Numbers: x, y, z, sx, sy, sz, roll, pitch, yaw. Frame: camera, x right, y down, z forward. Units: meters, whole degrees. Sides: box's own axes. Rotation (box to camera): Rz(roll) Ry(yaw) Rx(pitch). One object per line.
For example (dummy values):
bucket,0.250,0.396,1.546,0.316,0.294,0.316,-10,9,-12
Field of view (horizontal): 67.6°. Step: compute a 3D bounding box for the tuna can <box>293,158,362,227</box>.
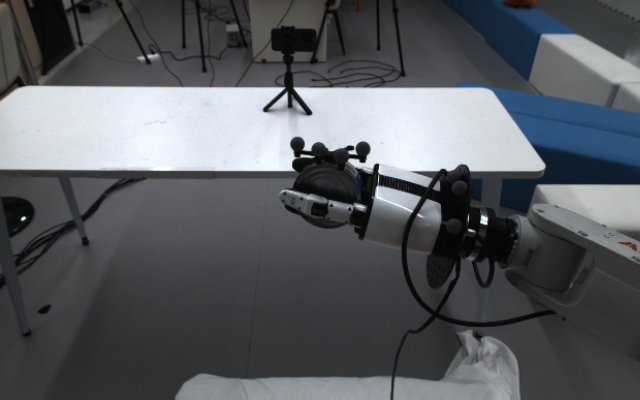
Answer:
tuna can,0.012,-0.011,0.602,0.085,0.085,0.034,9,23,10
